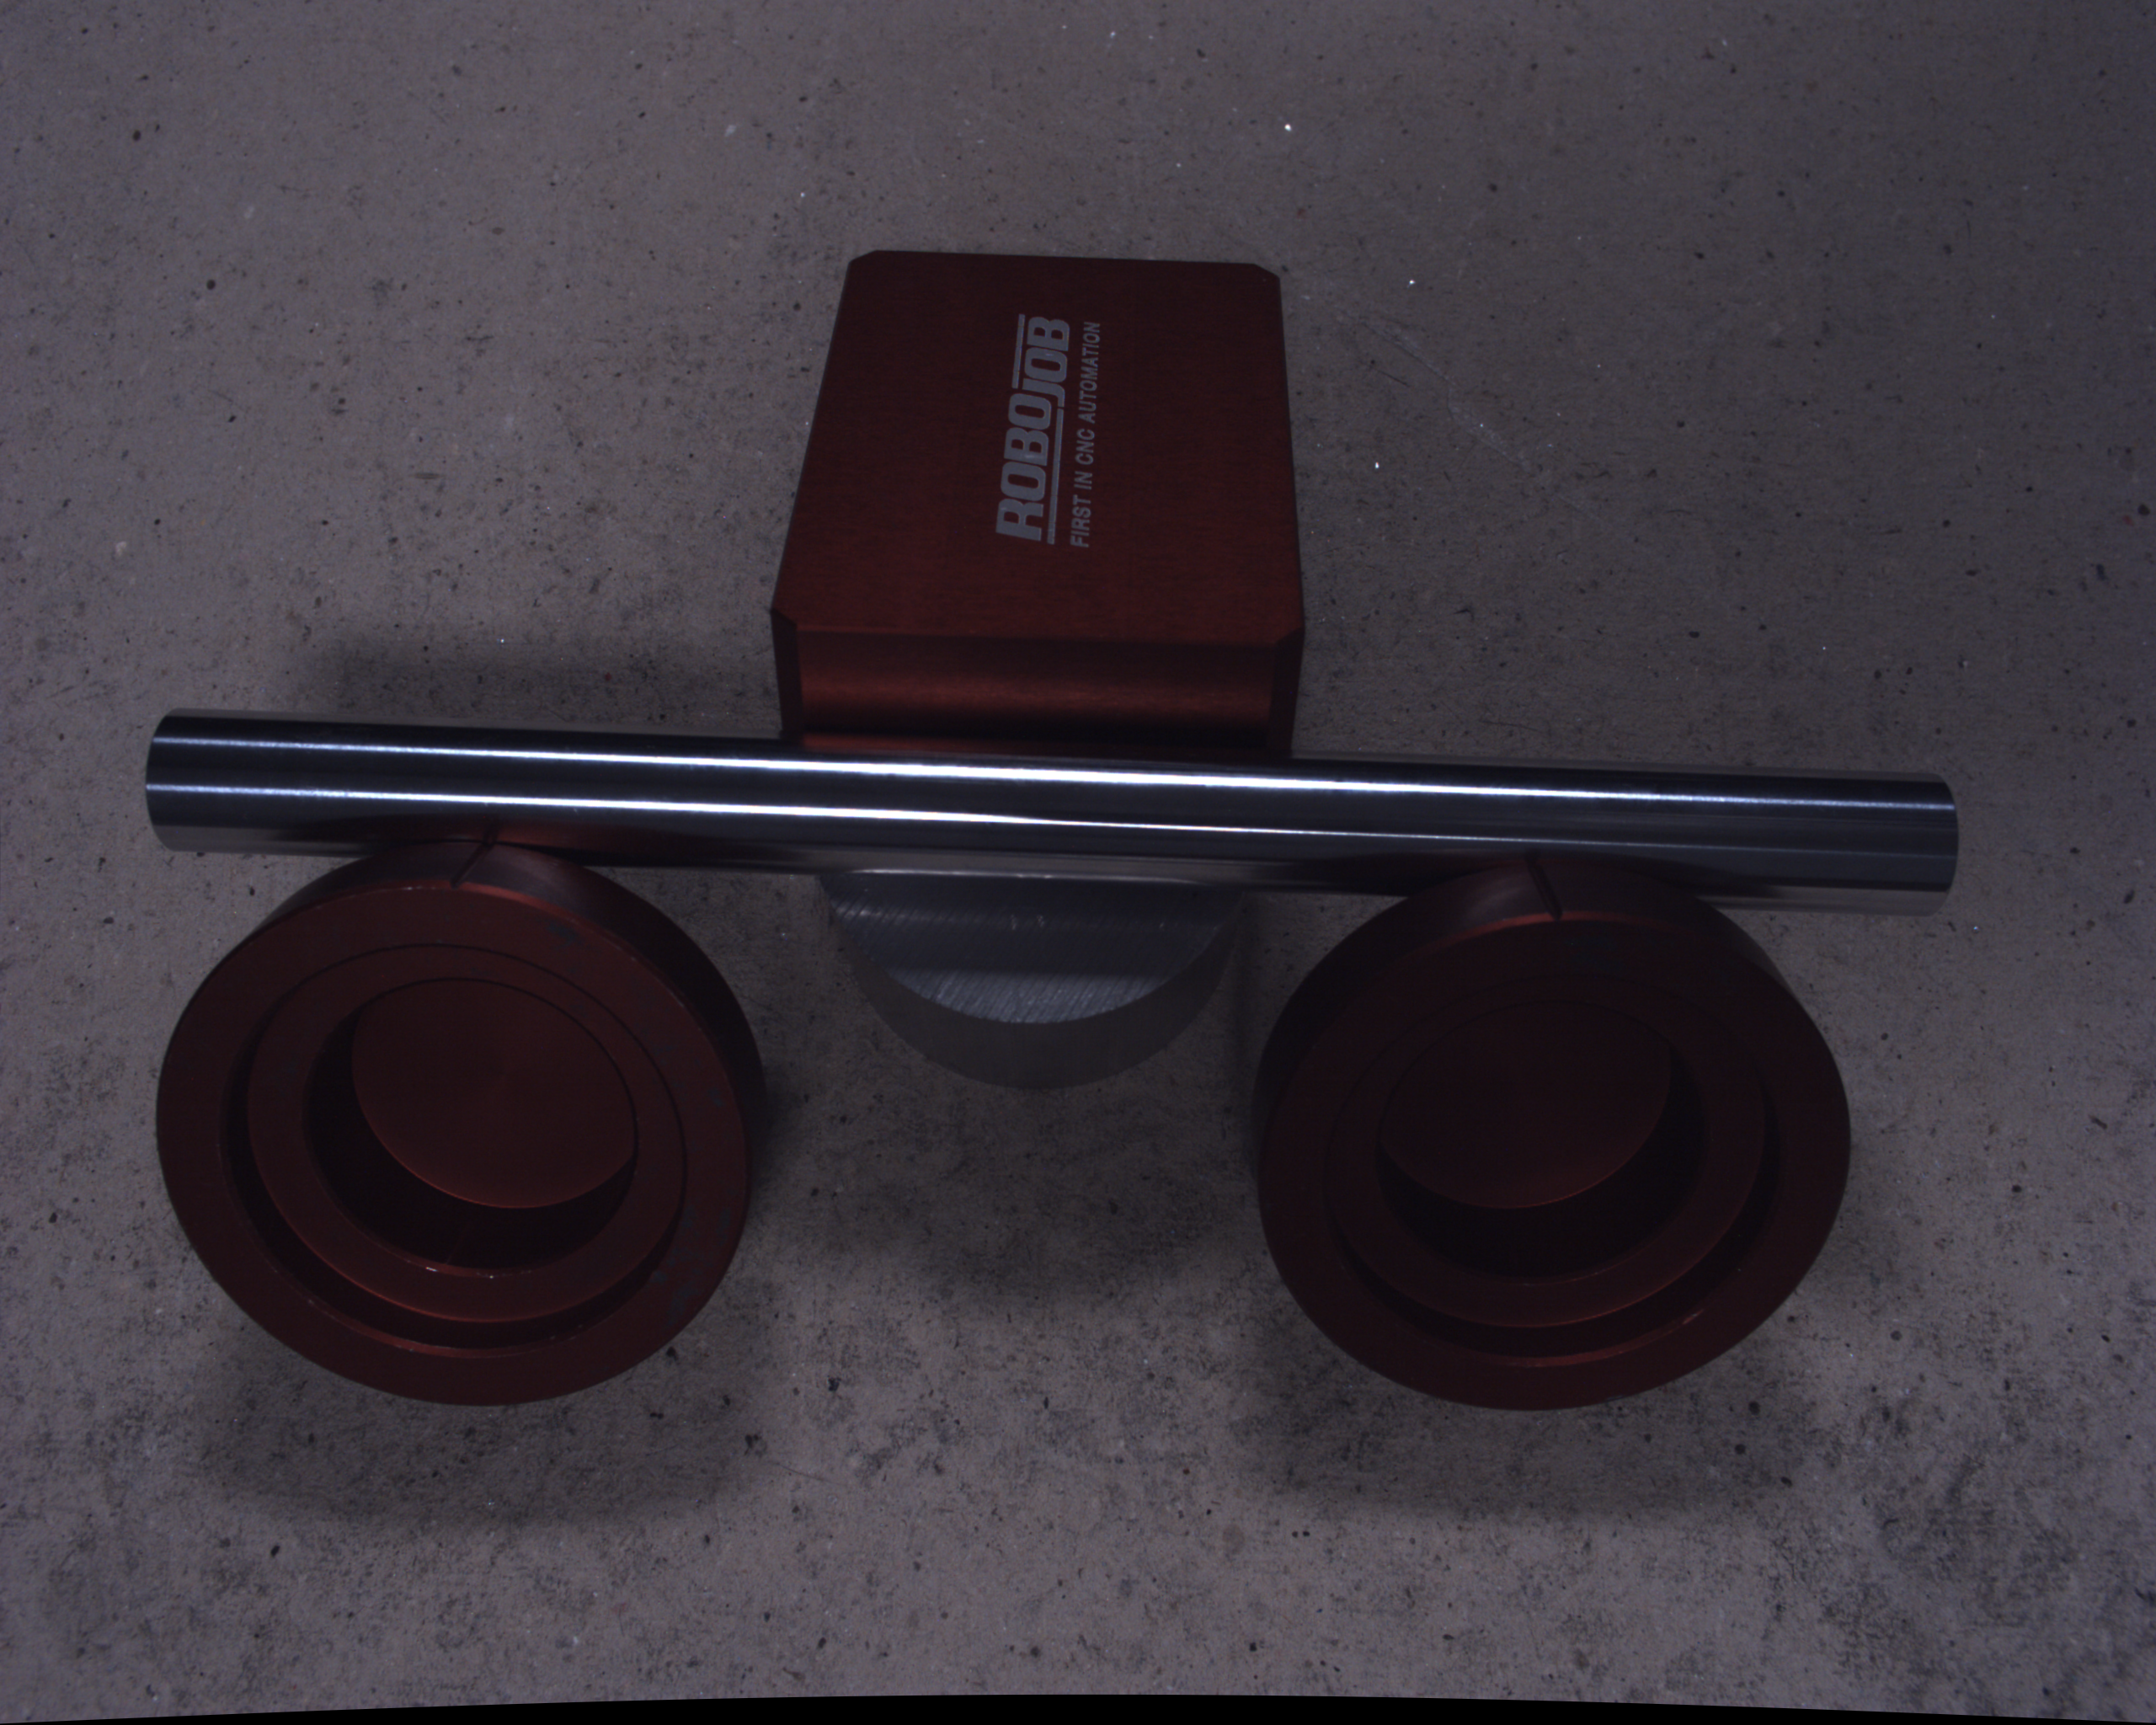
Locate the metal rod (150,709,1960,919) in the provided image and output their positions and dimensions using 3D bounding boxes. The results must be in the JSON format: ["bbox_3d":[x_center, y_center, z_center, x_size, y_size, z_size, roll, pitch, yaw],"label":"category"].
[{"bbox_3d":[-0.004,-0.008,0.360,0.302,0.025,0.025,2,70,0],"label":"metal rod"}]

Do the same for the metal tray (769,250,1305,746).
[{"bbox_3d":[-0.005,-0.073,0.405,0.091,0.030,0.130,2,44,0],"label":"metal tray"}]

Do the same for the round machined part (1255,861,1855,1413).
[{"bbox_3d":[0.080,0.044,0.367,0.099,0.042,0.097,0,113,0],"label":"round machined part"}]

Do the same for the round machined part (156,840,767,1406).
[{"bbox_3d":[-0.104,0.042,0.367,0.099,0.042,0.097,0,108,-1],"label":"round machined part"}]

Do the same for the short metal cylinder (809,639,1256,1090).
[{"bbox_3d":[-0.008,-0.001,0.397,0.081,0.050,0.080,0,70,0],"label":"short metal cylinder"}]
